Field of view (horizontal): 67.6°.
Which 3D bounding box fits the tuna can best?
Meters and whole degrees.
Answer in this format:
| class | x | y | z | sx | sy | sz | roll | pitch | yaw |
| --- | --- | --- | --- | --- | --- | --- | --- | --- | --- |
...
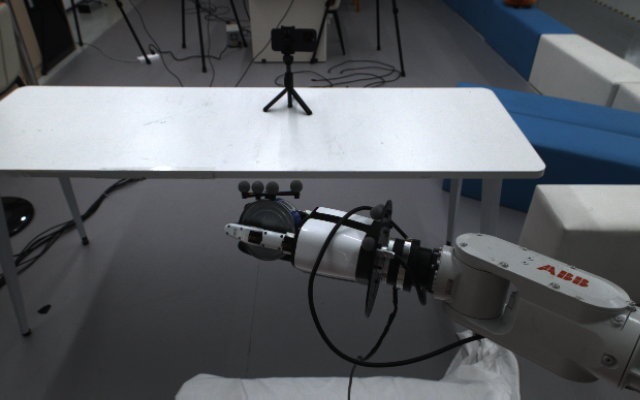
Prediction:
| class | x | y | z | sx | sy | sz | roll | pitch | yaw |
| --- | --- | --- | --- | --- | --- | --- | --- | --- | --- |
| tuna can | -0.067 | 0.039 | 0.675 | 0.085 | 0.085 | 0.034 | 15 | 10 | 18 |
